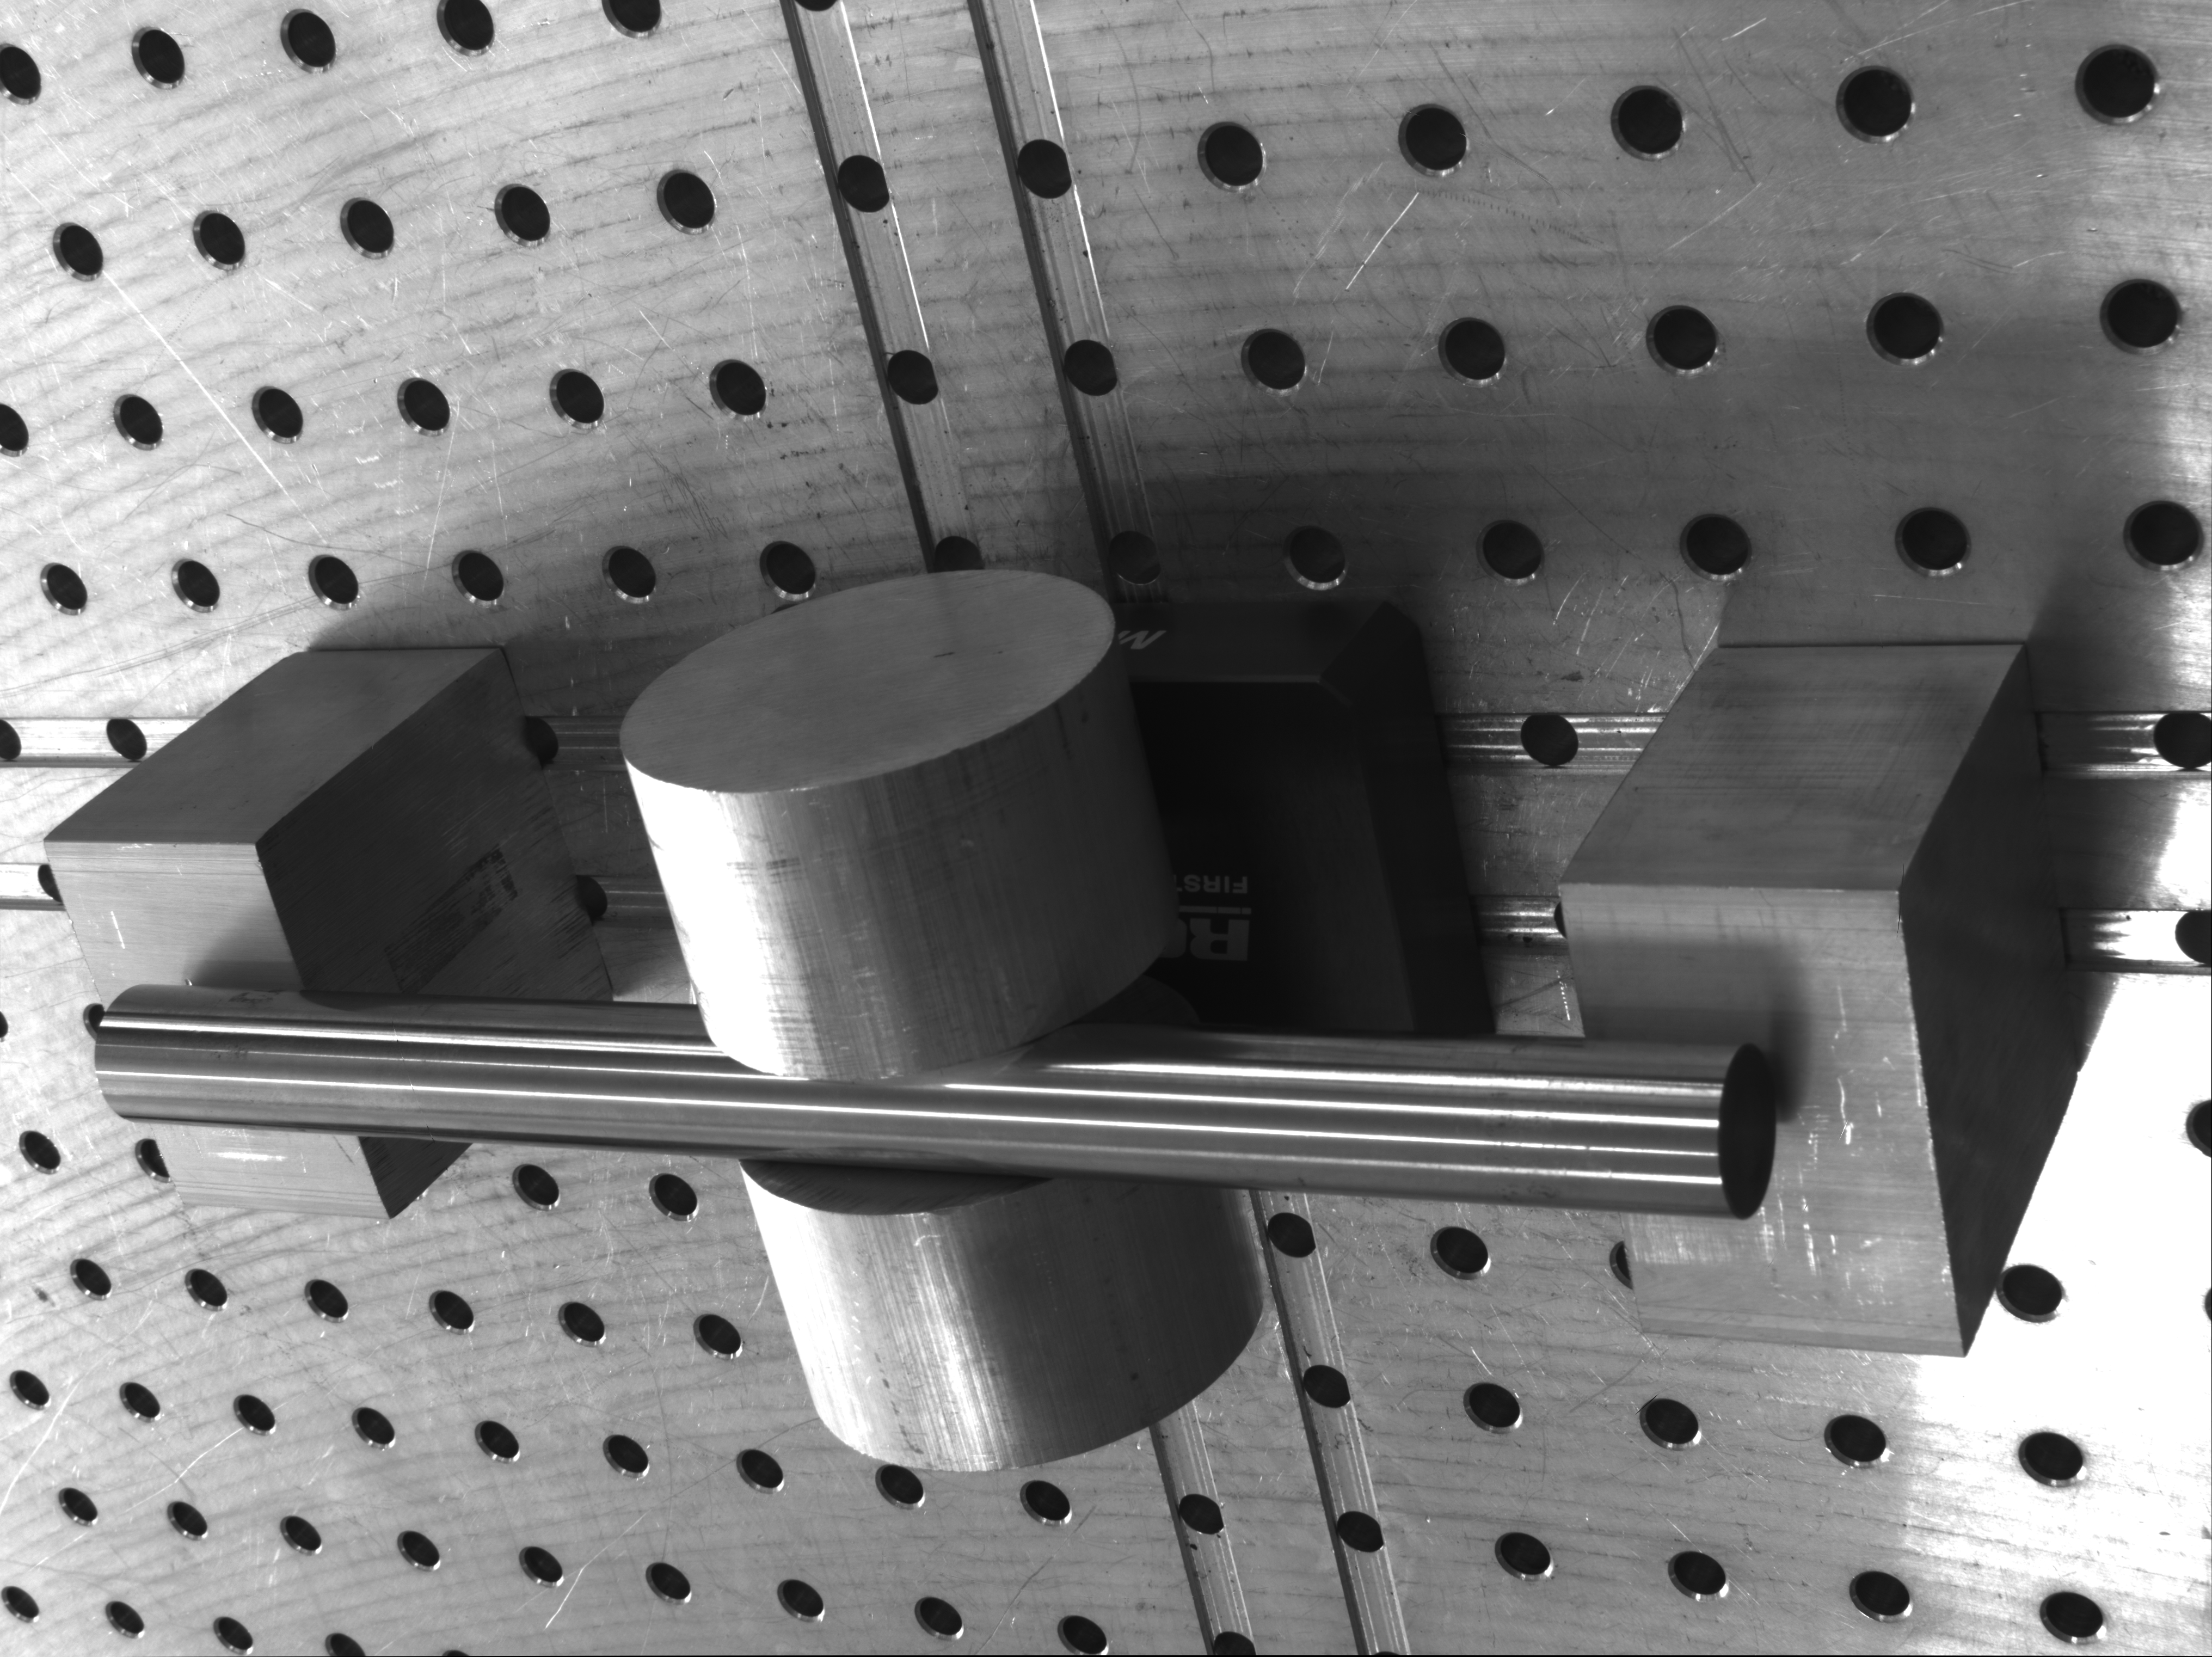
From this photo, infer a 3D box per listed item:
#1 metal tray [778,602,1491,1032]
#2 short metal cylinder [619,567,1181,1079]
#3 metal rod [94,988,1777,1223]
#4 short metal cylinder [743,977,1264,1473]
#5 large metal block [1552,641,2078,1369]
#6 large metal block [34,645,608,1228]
[{"bbox_3d":[-0.003,0.007,0.648,0.130,0.030,0.090,1,119,28],"label":"metal tray"},{"bbox_3d":[-0.032,-0.002,0.587,0.080,0.080,0.050,1,119,28],"label":"short metal cylinder"},{"bbox_3d":[-0.041,0.042,0.589,0.299,0.025,0.025,1,119,28],"label":"metal rod"},{"bbox_3d":[-0.017,0.064,0.620,0.080,0.080,0.050,1,119,28],"label":"short metal cylinder"},{"bbox_3d":[0.112,0.025,0.564,0.050,0.080,0.080,1,119,28],"label":"large metal block"},{"bbox_3d":[-0.146,0.019,0.698,0.050,0.080,0.080,1,119,28],"label":"large metal block"}]
